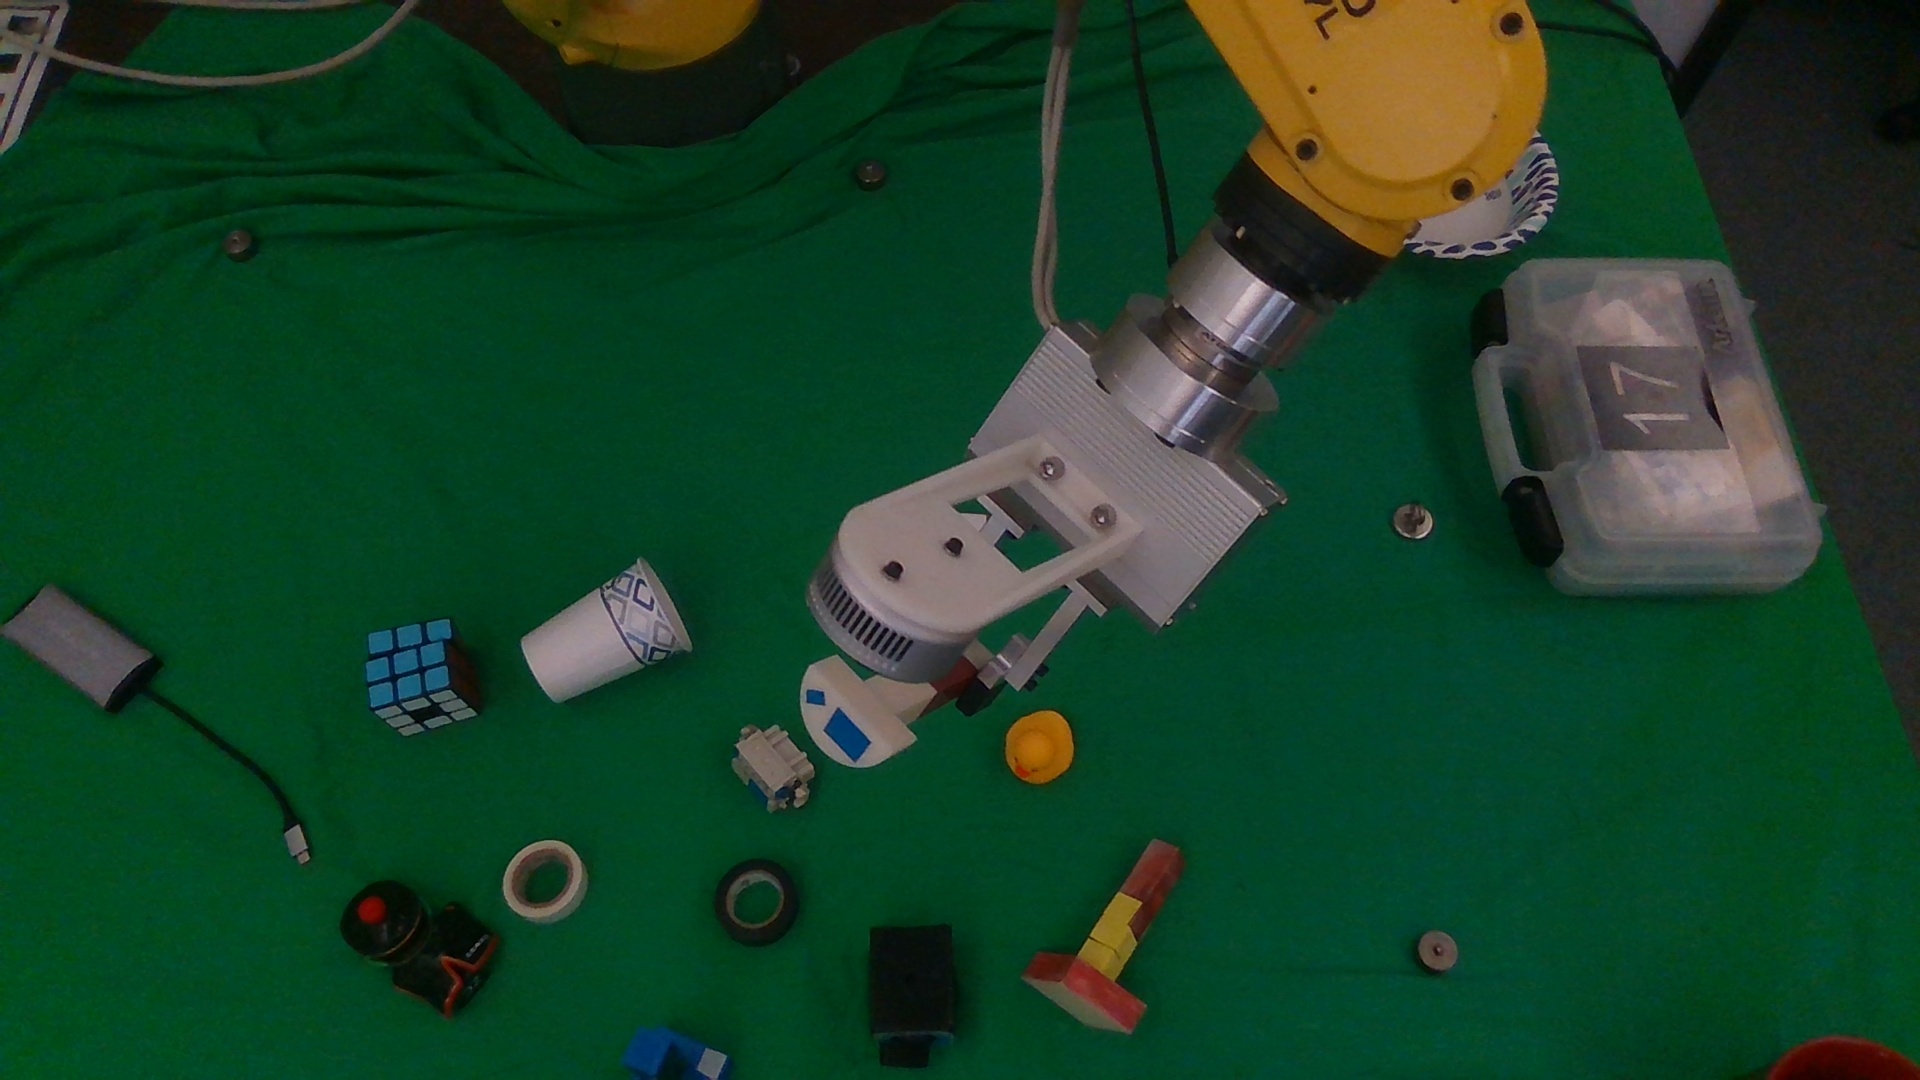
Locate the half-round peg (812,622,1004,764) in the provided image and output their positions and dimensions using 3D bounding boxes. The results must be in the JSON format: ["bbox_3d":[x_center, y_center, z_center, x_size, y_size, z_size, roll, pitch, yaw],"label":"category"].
[{"bbox_3d":[-0.017,0.062,0.621,0.054,0.031,0.121,44,28,16],"label":"half-round peg"}]

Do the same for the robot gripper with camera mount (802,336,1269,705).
[{"bbox_3d":[0.003,0.026,0.565,0.119,0.159,0.193,43,32,14],"label":"robot gripper with camera mount"}]
